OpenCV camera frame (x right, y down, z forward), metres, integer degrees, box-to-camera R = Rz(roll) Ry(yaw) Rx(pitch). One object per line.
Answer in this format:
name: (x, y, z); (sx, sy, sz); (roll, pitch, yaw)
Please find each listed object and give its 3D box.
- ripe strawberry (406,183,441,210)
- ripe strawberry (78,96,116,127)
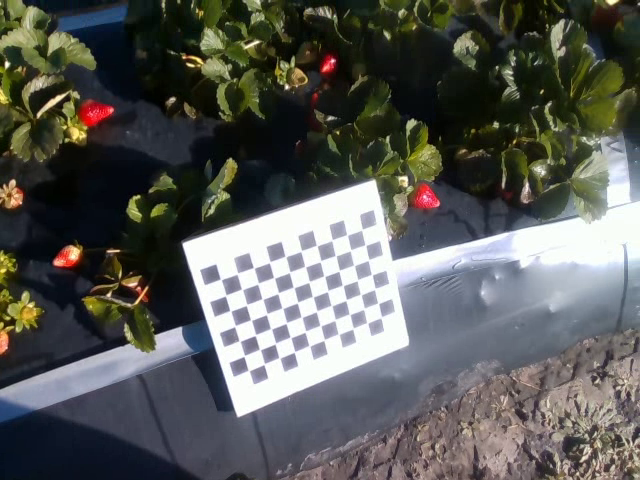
ripe strawberry: (0.173, -0.065, 0.927); (0.054, 0.048, 0.029); (27, 5, -21)
ripe strawberry: (-0.358, -0.203, 0.917); (0.064, 0.050, 0.052); (-9, 17, -5)
